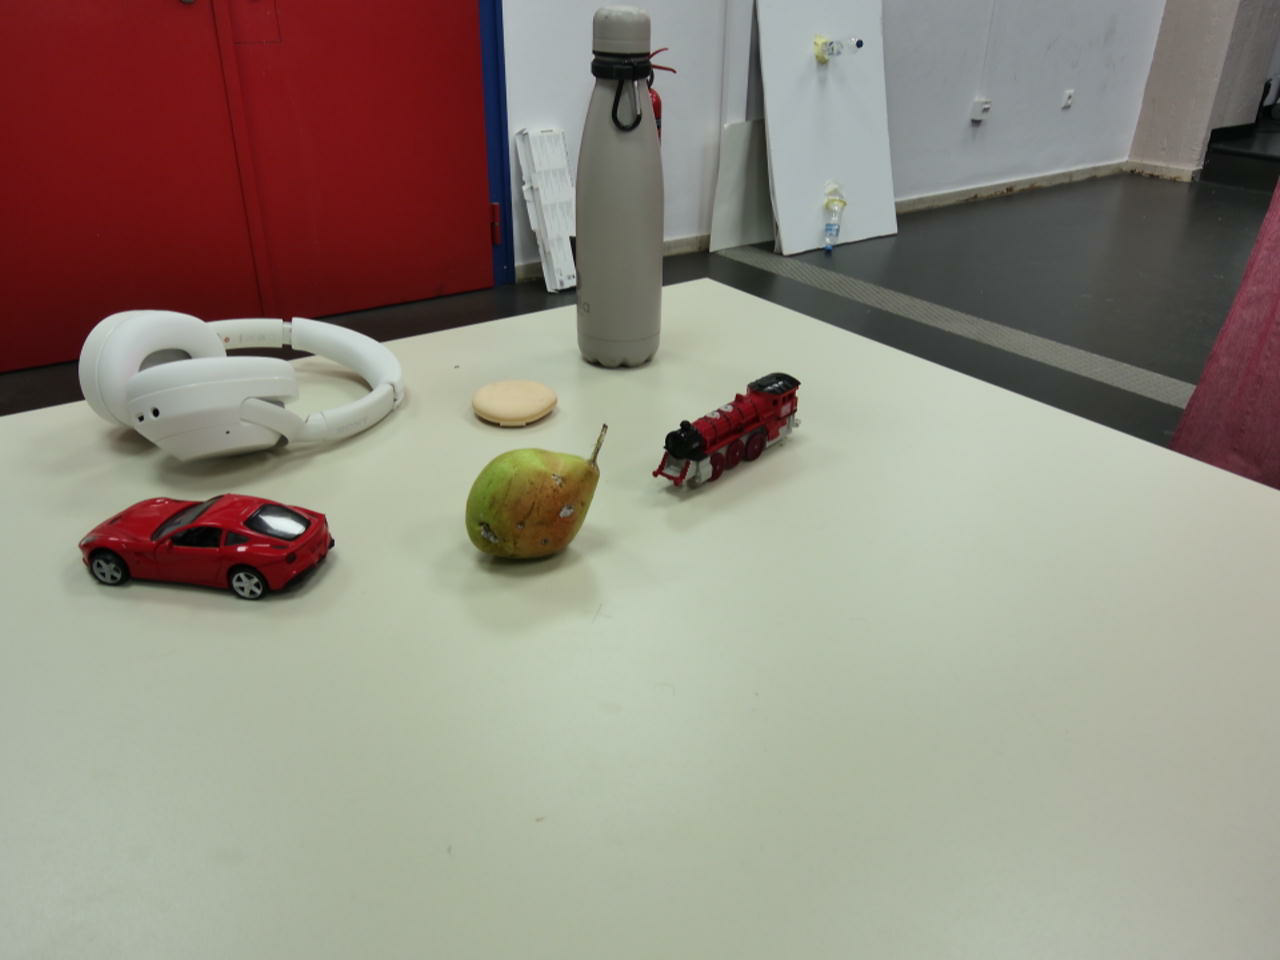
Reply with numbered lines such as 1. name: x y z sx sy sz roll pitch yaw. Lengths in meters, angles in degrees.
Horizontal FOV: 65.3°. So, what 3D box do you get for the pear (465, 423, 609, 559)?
1. pear: -0.060 0.010 0.562 0.070 0.069 0.068 7 27 13
